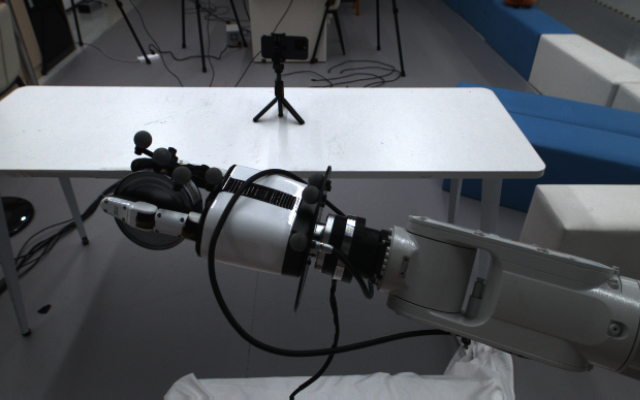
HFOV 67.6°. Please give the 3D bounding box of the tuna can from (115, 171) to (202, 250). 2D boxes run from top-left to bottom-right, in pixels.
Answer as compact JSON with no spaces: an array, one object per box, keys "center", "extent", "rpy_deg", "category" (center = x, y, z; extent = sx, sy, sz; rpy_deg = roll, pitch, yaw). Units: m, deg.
[{"center":[-0.165,0.007,0.504],"extent":[0.085,0.085,0.034],"rpy_deg":[7,16,6],"category":"tuna can"}]
